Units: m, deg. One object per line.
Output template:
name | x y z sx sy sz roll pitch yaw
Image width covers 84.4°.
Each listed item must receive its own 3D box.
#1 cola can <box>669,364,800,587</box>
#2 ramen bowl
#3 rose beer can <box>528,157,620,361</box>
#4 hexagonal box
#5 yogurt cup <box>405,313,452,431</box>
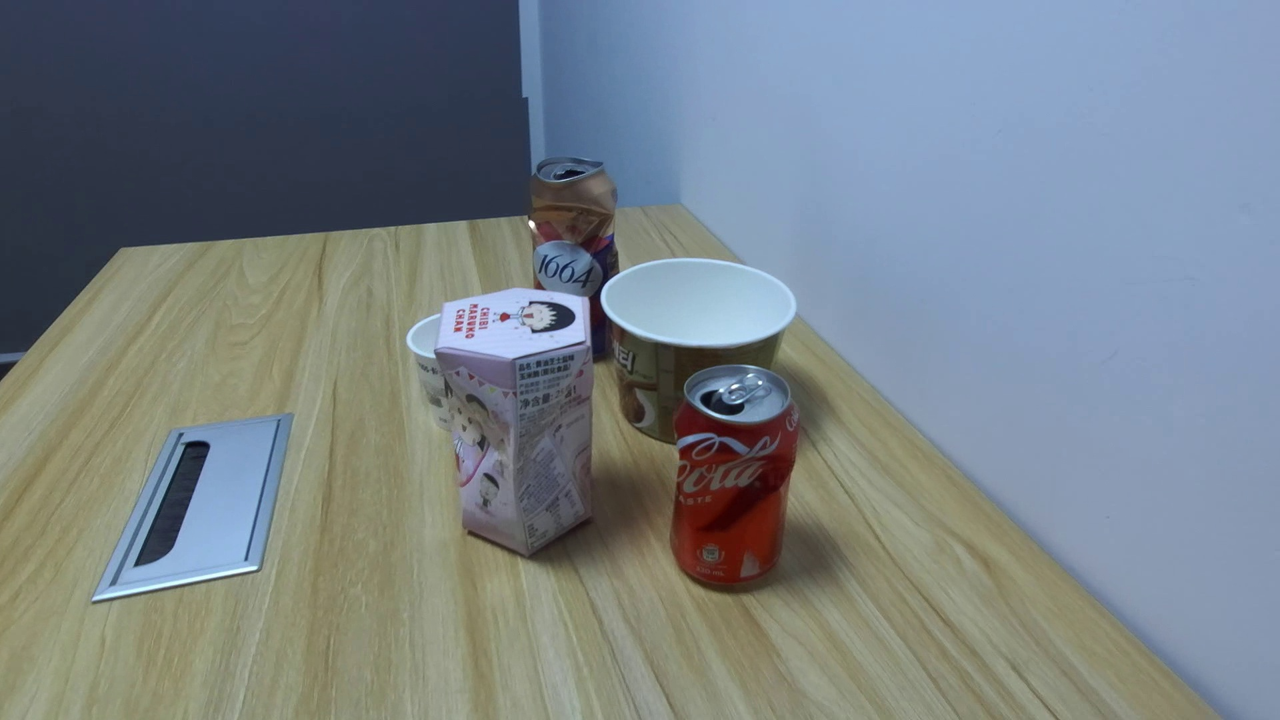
cola can | 0.051 0.062 0.387 0.066 0.117 0.066 5 32 10
ramen bowl | 0.040 -0.007 0.526 0.140 0.095 0.140 2 32 -1
rose beer can | -0.052 -0.081 0.583 0.074 0.162 0.068 -4 29 -3
hexagonal box | -0.070 0.033 0.420 0.093 0.135 0.088 -25 39 -36
yogurt cup | -0.118 0.011 0.487 0.072 0.068 0.072 -1 27 1
